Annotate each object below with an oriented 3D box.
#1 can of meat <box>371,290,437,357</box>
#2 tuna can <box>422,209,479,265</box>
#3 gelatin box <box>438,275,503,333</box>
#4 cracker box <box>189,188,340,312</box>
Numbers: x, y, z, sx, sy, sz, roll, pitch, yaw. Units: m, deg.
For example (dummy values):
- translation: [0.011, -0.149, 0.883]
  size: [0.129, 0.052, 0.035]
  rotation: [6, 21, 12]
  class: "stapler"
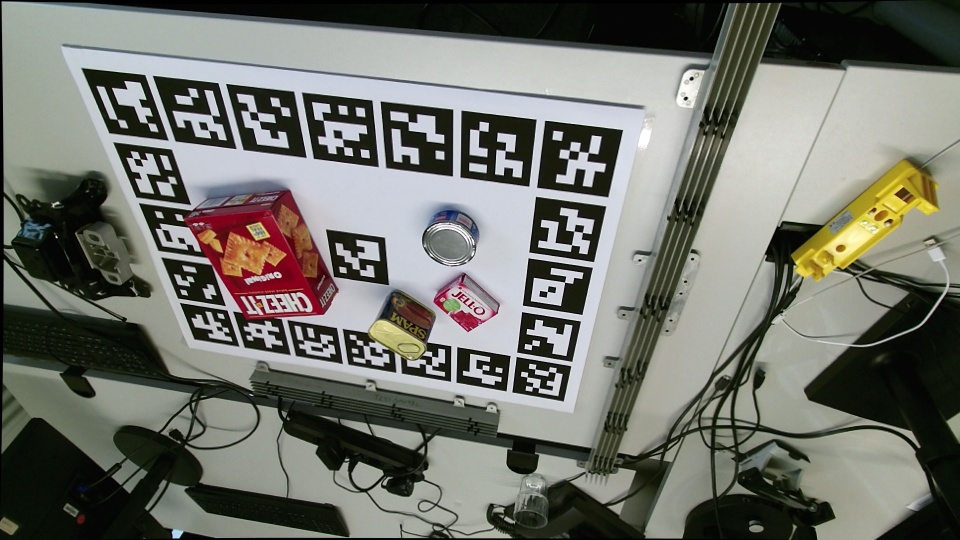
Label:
- translation: [-0.133, 0.094, 0.960]
  size: [0.102, 0.083, 0.058]
  rotation: [31, 128, -13]
  class: "can of meat"
- translation: [-0.045, -0.053, 0.845]
  size: [0.086, 0.033, 0.086]
  rotation: [5, 125, 8]
  class: "tuna can"
- translation: [-0.017, 0.062, 0.932]
  size: [0.089, 0.030, 0.073]
  rotation: [43, 127, -17]
  class: "gelatin box"
- translation: [-0.367, -0.026, 0.926]
  size: [0.165, 0.072, 0.214]
  rotation: [-5, 127, 18]
  class: "cracker box"
